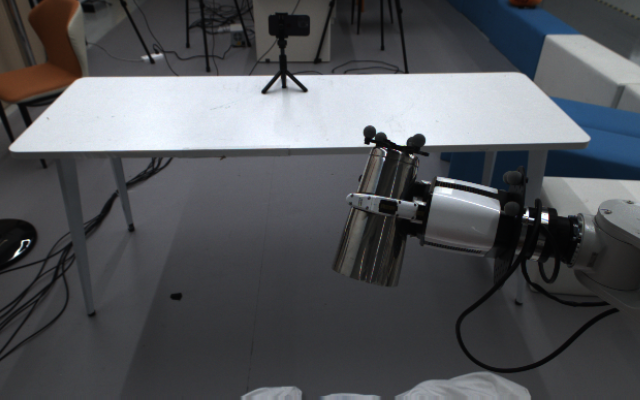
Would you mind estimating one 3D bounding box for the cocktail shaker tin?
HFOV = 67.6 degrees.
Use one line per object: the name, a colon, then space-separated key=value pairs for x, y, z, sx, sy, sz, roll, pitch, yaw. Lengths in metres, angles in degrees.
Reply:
cocktail shaker tin: x=0.080 y=0.019 z=0.648 sx=0.093 sy=0.170 sz=0.093 roll=14 pitch=2 yaw=0
